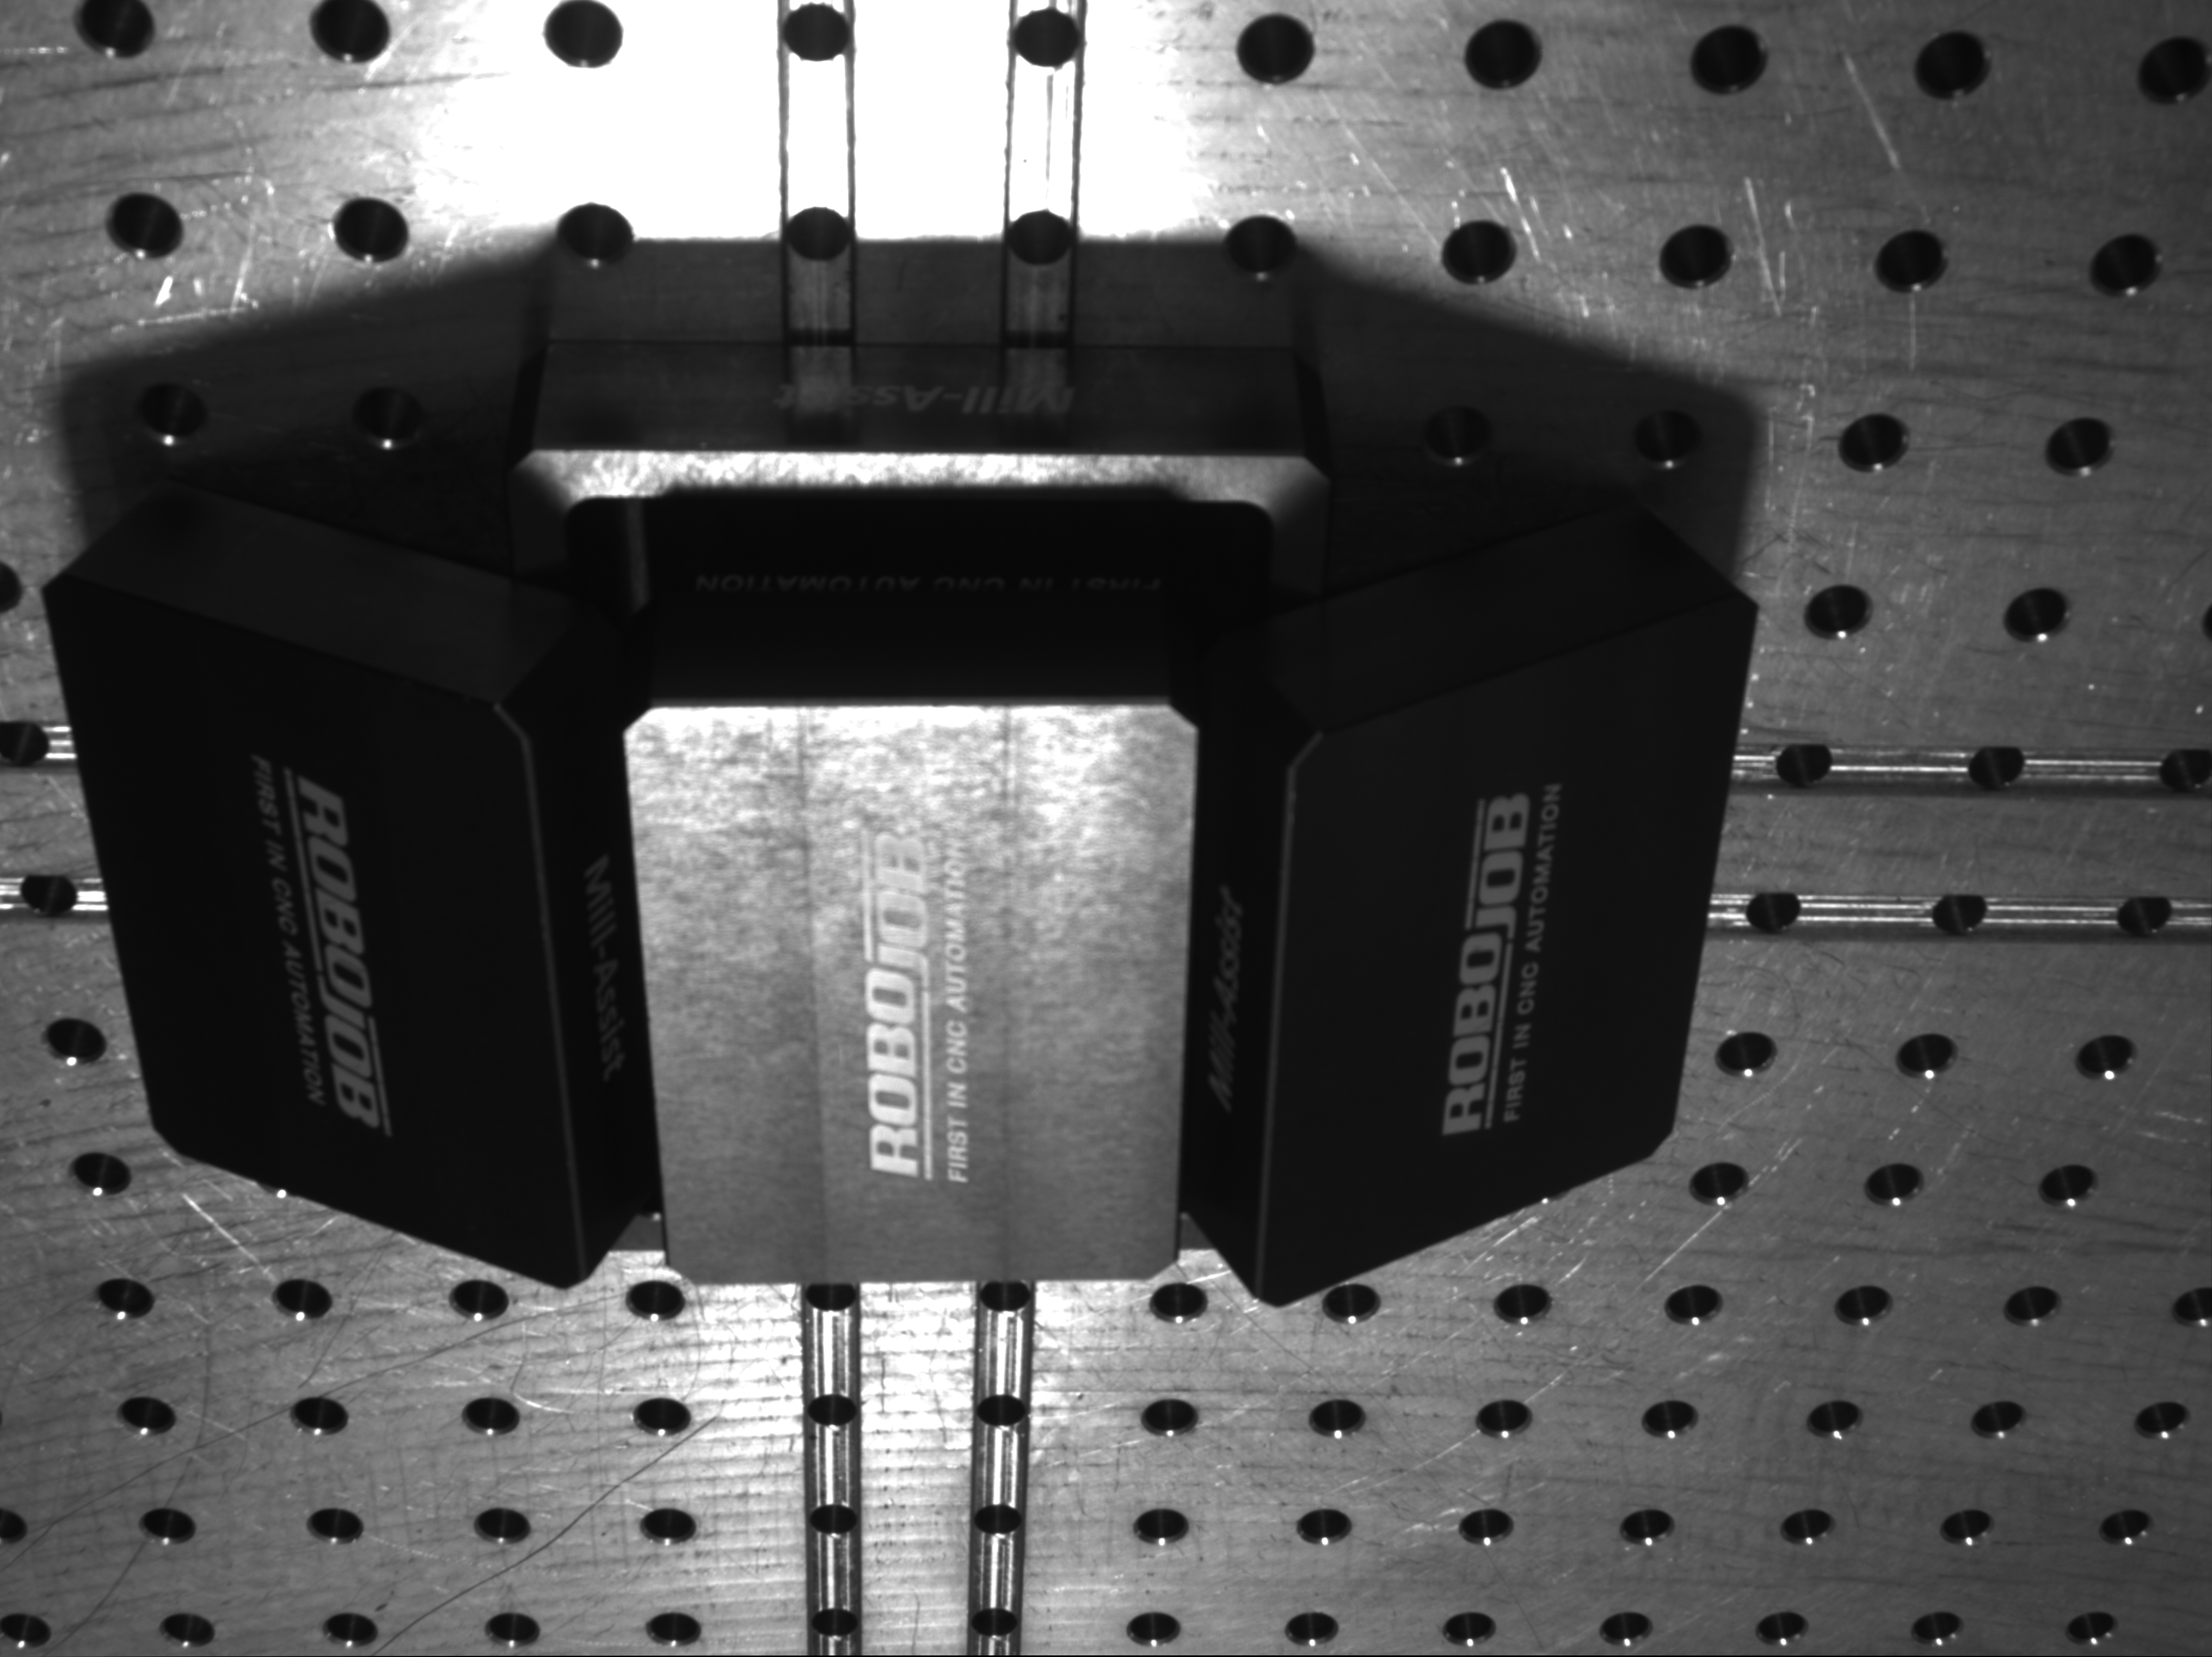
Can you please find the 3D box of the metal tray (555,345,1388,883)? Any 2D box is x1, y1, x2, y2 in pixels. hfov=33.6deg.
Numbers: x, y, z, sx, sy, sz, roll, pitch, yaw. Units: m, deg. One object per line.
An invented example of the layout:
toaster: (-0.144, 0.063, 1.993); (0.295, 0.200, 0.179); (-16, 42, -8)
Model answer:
metal tray: (-0.022, -0.034, 0.609); (0.130, 0.030, 0.090); (0, 130, -2)

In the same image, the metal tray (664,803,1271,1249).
metal tray: (-0.023, 0.035, 0.667); (0.130, 0.030, 0.090); (0, 130, -2)

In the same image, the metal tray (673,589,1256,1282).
metal tray: (-0.023, 0.021, 0.615); (0.090, 0.030, 0.130); (0, 130, -2)

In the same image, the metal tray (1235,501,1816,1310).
metal tray: (0.069, 0.015, 0.628); (0.090, 0.030, 0.130); (-19, 134, -22)

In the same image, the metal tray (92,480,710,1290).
metal tray: (-0.116, 0.012, 0.621); (0.090, 0.030, 0.130); (17, 133, 18)
